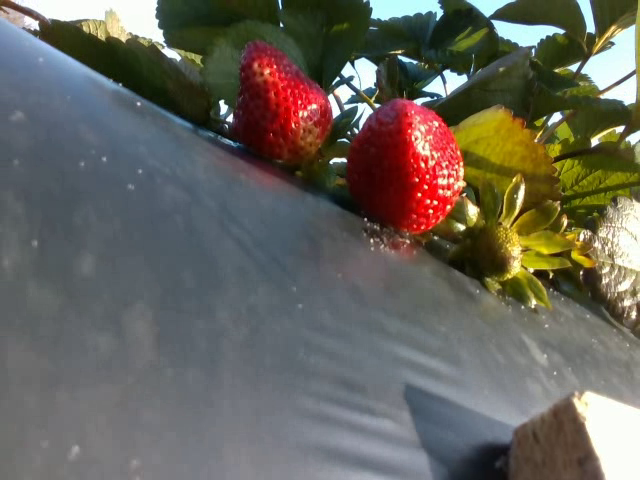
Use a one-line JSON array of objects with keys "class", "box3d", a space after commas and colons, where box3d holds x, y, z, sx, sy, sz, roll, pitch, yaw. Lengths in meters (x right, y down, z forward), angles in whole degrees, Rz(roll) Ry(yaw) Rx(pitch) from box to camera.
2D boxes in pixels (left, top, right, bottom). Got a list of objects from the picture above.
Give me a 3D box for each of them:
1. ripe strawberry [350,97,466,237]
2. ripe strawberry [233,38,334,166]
[{"class": "ripe strawberry", "box3d": [0.028, -0.027, 0.181, 0.038, 0.043, 0.053, -40, -15, -4]}, {"class": "ripe strawberry", "box3d": [-0.015, -0.051, 0.231, 0.039, 0.054, 0.048, -25, 23, 27]}]
